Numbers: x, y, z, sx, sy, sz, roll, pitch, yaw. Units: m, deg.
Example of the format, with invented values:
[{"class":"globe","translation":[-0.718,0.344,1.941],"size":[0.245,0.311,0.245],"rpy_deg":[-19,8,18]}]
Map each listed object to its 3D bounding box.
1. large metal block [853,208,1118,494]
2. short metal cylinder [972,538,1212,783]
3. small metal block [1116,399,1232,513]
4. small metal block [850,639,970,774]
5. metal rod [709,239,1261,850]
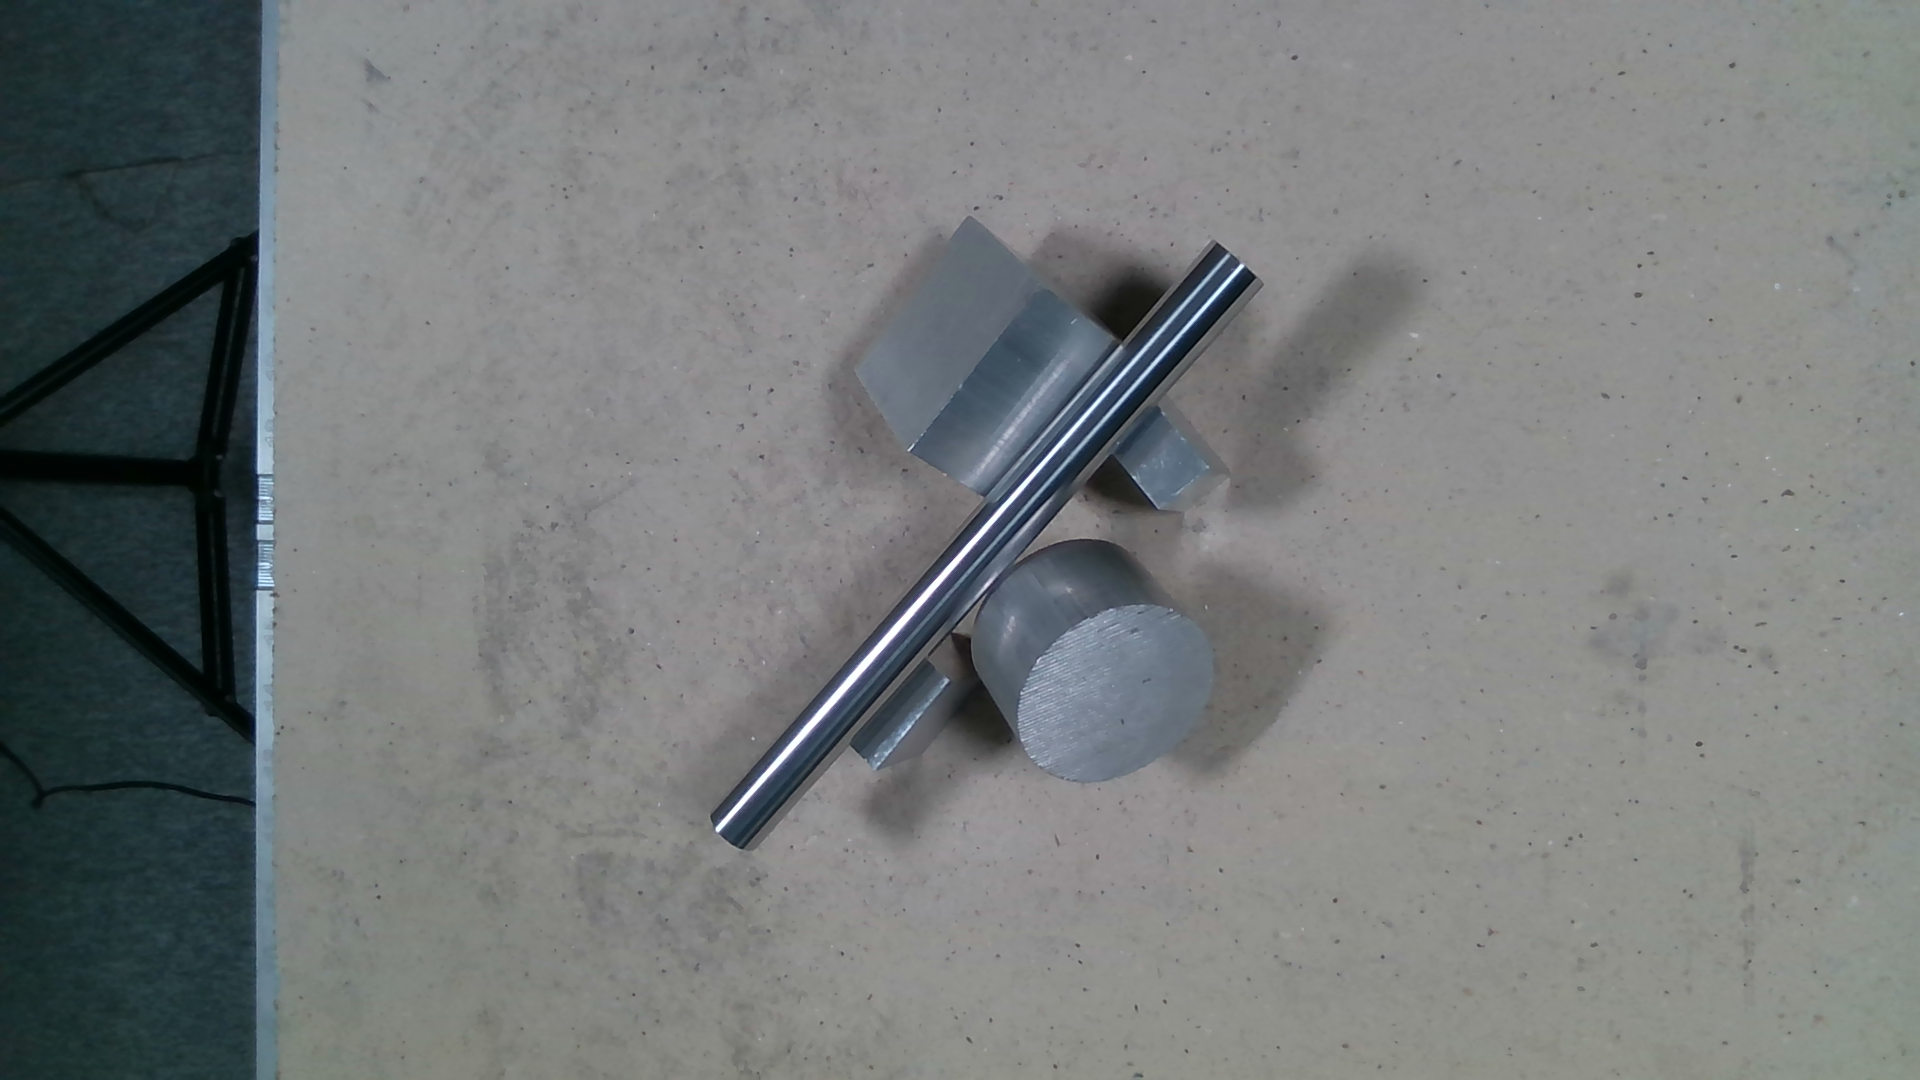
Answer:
[{"class":"large metal block","translation":[0.010,-0.074,0.549],"size":[0.080,0.050,0.080],"rpy_deg":[-52,34,14]},{"class":"short metal cylinder","translation":[0.050,0.046,0.532],"size":[0.080,0.080,0.050],"rpy_deg":[-53,33,13]},{"class":"small metal block","translation":[0.078,-0.038,0.544],"size":[0.025,0.050,0.050],"rpy_deg":[-41,77,16]},{"class":"small metal block","translation":[-0.021,0.068,0.578],"size":[0.025,0.050,0.050],"rpy_deg":[43,104,15]},{"class":"metal rod","translation":[0.003,0.009,0.532],"size":[0.025,0.025,0.300],"rpy_deg":[45,105,14]}]
